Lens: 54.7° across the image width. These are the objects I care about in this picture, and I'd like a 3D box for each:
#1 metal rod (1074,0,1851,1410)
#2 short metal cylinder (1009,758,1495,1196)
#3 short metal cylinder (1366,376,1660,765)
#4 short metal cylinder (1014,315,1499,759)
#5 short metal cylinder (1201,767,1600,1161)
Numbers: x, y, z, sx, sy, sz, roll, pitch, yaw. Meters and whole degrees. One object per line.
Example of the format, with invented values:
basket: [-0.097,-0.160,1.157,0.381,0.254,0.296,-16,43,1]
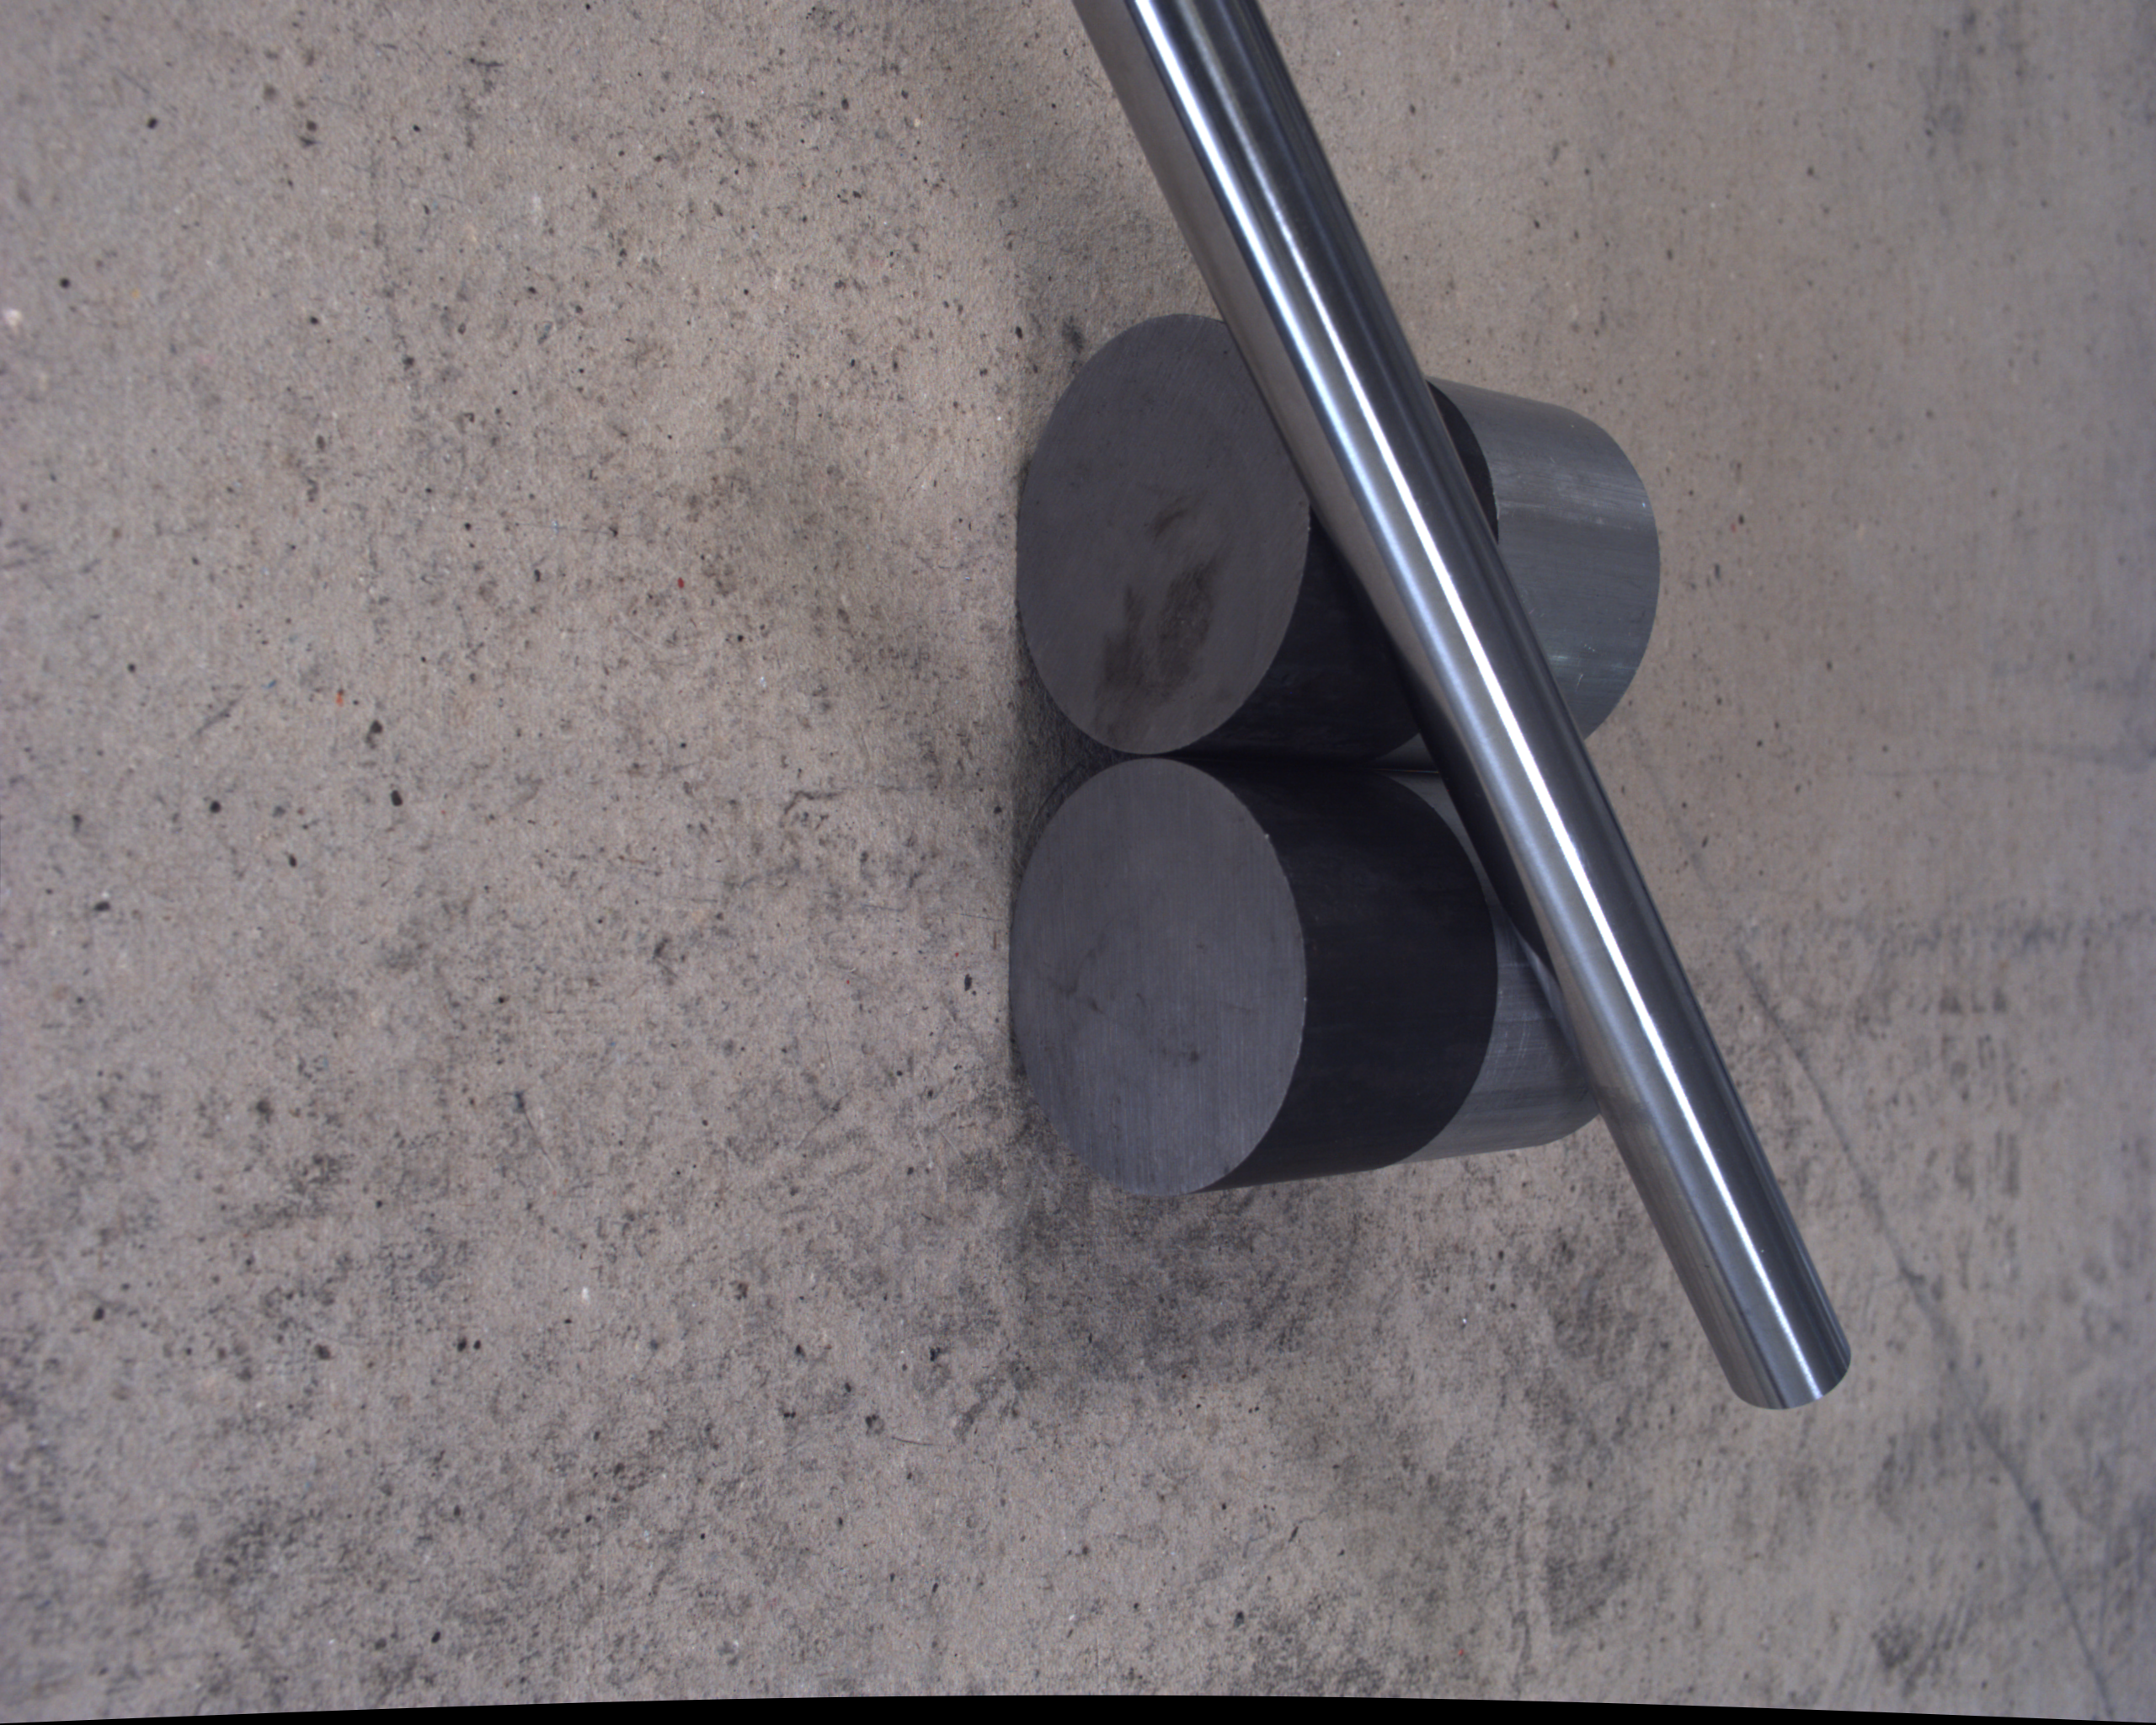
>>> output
metal rod: [0.076,-0.018,0.366,0.025,0.025,0.299,-44,117,-31]
short metal cylinder: [0.031,0.021,0.397,0.050,0.080,0.080,1,90,-40]
short metal cylinder: [0.071,-0.059,0.430,0.050,0.080,0.080,1,90,-40]
short metal cylinder: [0.032,-0.059,0.398,0.050,0.080,0.080,1,90,-40]
short metal cylinder: [0.070,0.021,0.430,0.050,0.080,0.080,1,90,-40]
